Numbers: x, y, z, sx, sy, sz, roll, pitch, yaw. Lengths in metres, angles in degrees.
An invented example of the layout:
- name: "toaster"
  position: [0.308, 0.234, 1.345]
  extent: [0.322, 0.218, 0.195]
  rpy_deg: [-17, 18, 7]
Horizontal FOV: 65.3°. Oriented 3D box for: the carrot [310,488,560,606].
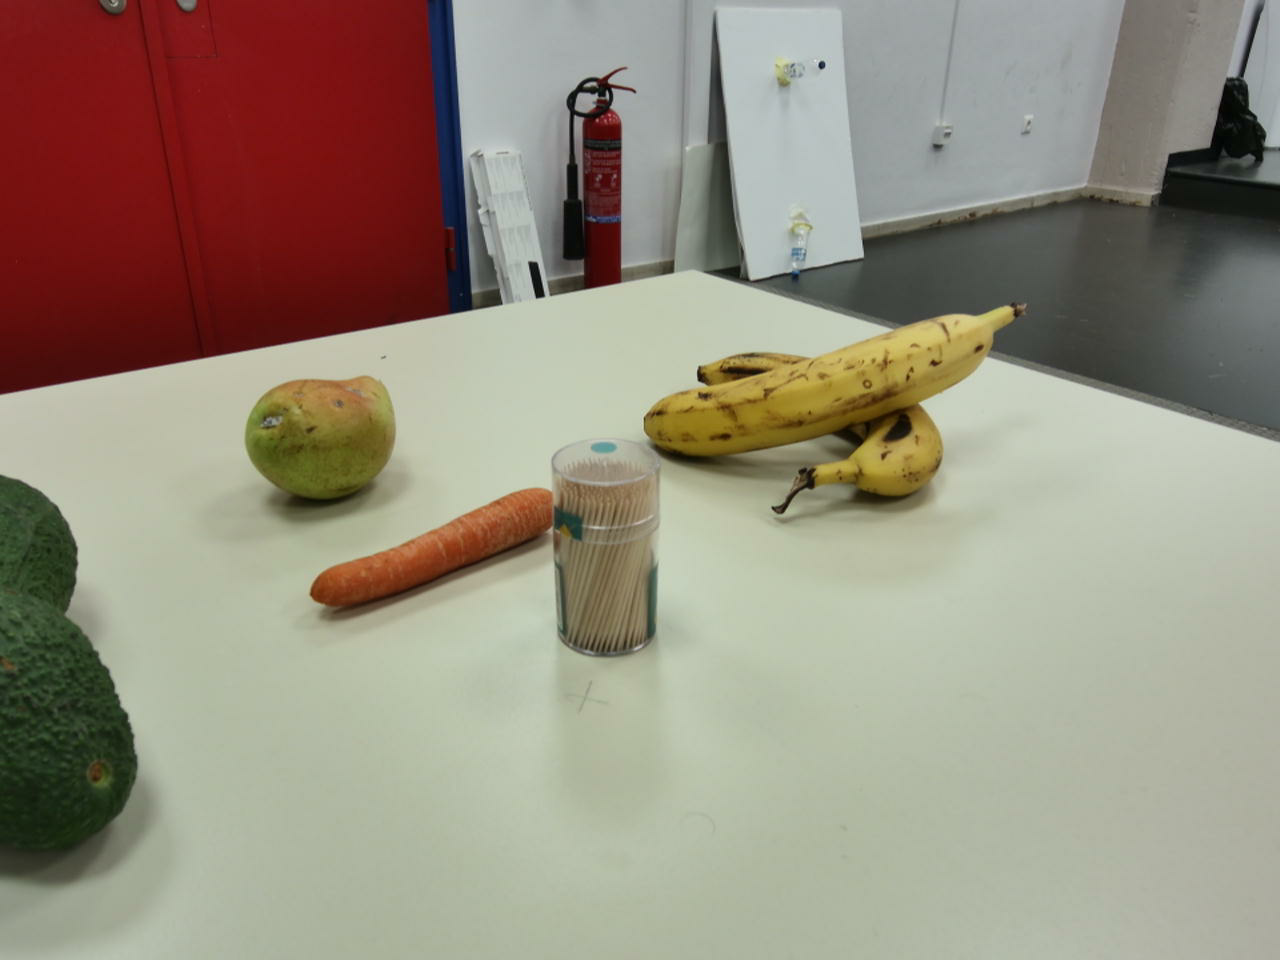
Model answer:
- name: "carrot"
  position: [-0.085, 0.028, 0.433]
  extent: [0.122, 0.023, 0.024]
  rpy_deg: [-19, 30, -38]
